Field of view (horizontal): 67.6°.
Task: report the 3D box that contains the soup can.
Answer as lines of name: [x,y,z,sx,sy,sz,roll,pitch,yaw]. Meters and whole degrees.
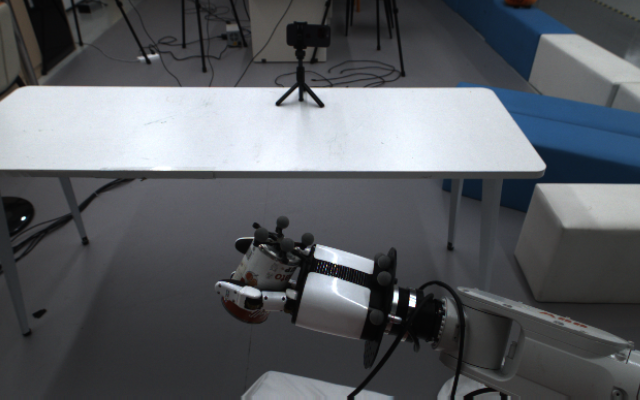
soup can: [-0.075,0.100,0.625,0.067,0.101,0.067,28,18,-10]
